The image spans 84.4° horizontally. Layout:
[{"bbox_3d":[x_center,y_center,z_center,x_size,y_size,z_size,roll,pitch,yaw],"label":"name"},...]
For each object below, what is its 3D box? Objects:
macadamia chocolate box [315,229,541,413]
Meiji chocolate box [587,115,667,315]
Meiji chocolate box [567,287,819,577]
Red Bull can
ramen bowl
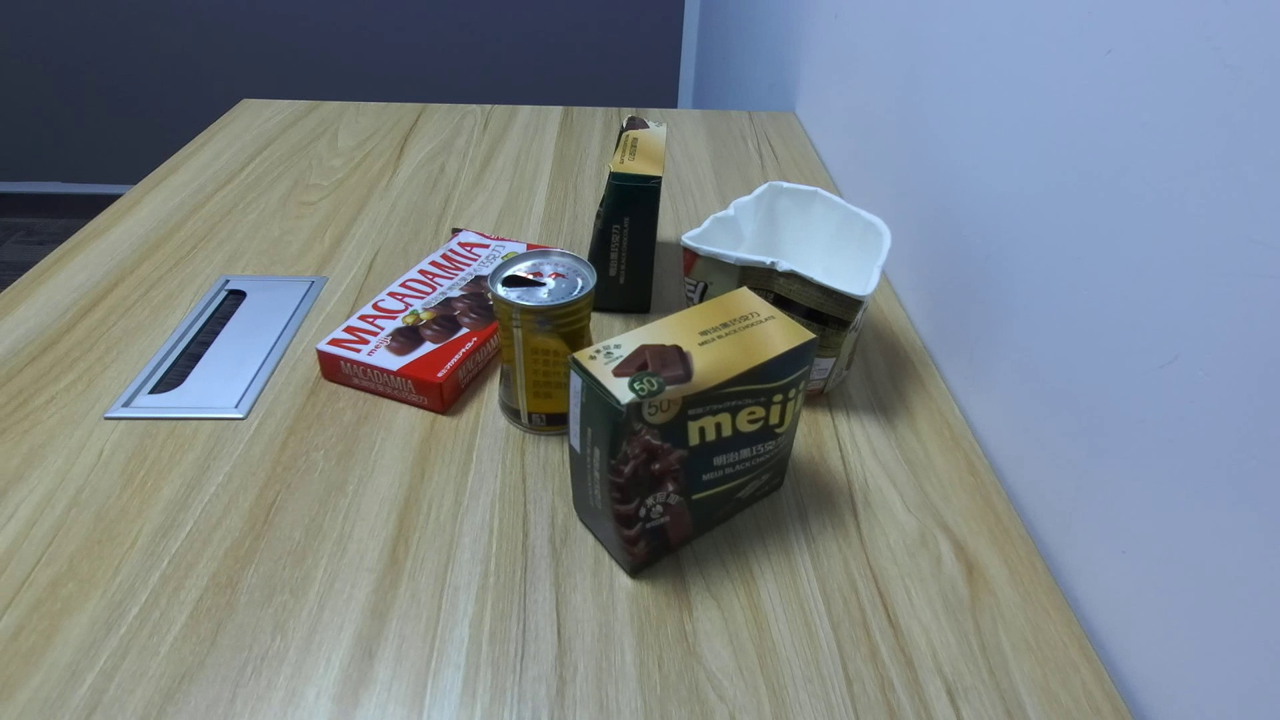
[{"bbox_3d":[-0.130,-0.038,0.503,0.105,0.028,0.183,15,40,13],"label":"macadamia chocolate box"},{"bbox_3d":[-0.008,-0.108,0.528,0.052,0.117,0.117,9,37,-5],"label":"Meiji chocolate box"},{"bbox_3d":[0.026,0.036,0.352,0.113,0.111,0.058,-22,44,-28],"label":"Meiji chocolate box"},{"bbox_3d":[-0.055,-0.012,0.416,0.072,0.092,0.072,1,40,0],"label":"Red Bull can"},{"bbox_3d":[0.095,-0.051,0.468,0.113,0.098,0.134,15,41,17],"label":"ramen bowl"}]
